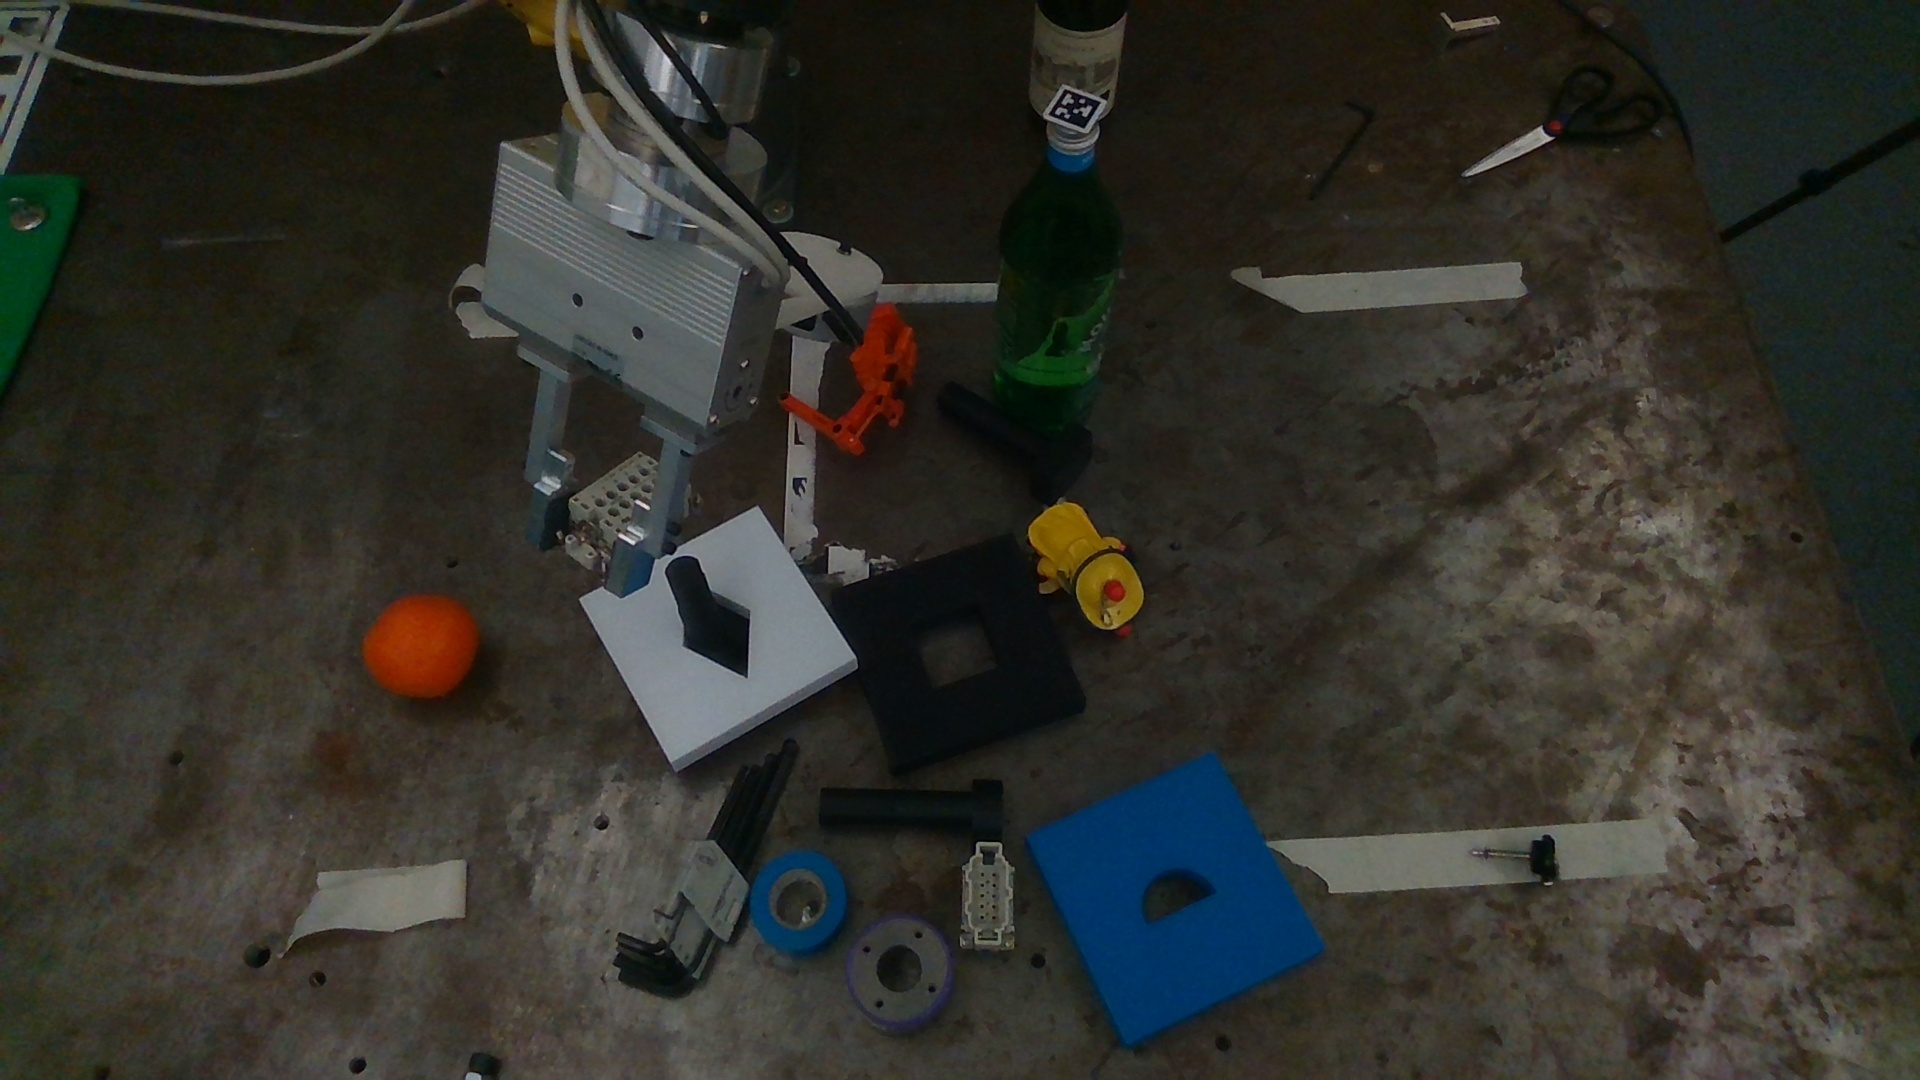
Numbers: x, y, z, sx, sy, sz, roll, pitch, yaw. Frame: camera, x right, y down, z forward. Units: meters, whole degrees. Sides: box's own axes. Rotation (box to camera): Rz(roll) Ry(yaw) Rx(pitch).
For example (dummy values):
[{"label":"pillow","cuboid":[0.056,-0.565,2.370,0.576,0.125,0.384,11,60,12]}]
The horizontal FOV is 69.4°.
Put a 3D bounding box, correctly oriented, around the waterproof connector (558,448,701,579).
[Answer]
[{"label":"waterproof connector","cuboid":[-0.161,-0.013,0.674,0.037,0.038,0.069,31,50,16]}]
